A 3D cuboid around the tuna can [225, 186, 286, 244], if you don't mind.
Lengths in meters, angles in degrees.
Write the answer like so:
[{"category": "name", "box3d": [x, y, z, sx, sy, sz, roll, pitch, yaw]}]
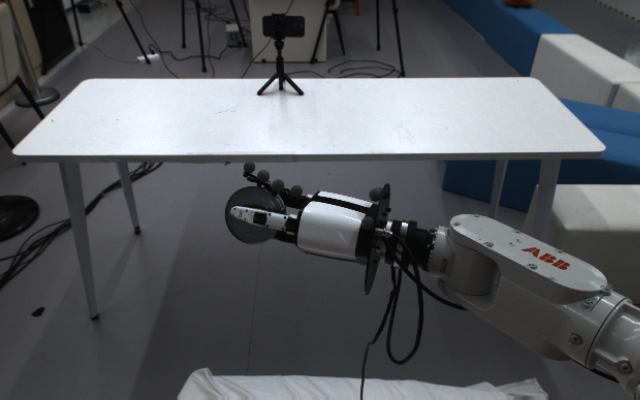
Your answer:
[{"category": "tuna can", "box3d": [-0.093, 0.022, 0.715, 0.085, 0.085, 0.034, 10, 4, 11]}]
